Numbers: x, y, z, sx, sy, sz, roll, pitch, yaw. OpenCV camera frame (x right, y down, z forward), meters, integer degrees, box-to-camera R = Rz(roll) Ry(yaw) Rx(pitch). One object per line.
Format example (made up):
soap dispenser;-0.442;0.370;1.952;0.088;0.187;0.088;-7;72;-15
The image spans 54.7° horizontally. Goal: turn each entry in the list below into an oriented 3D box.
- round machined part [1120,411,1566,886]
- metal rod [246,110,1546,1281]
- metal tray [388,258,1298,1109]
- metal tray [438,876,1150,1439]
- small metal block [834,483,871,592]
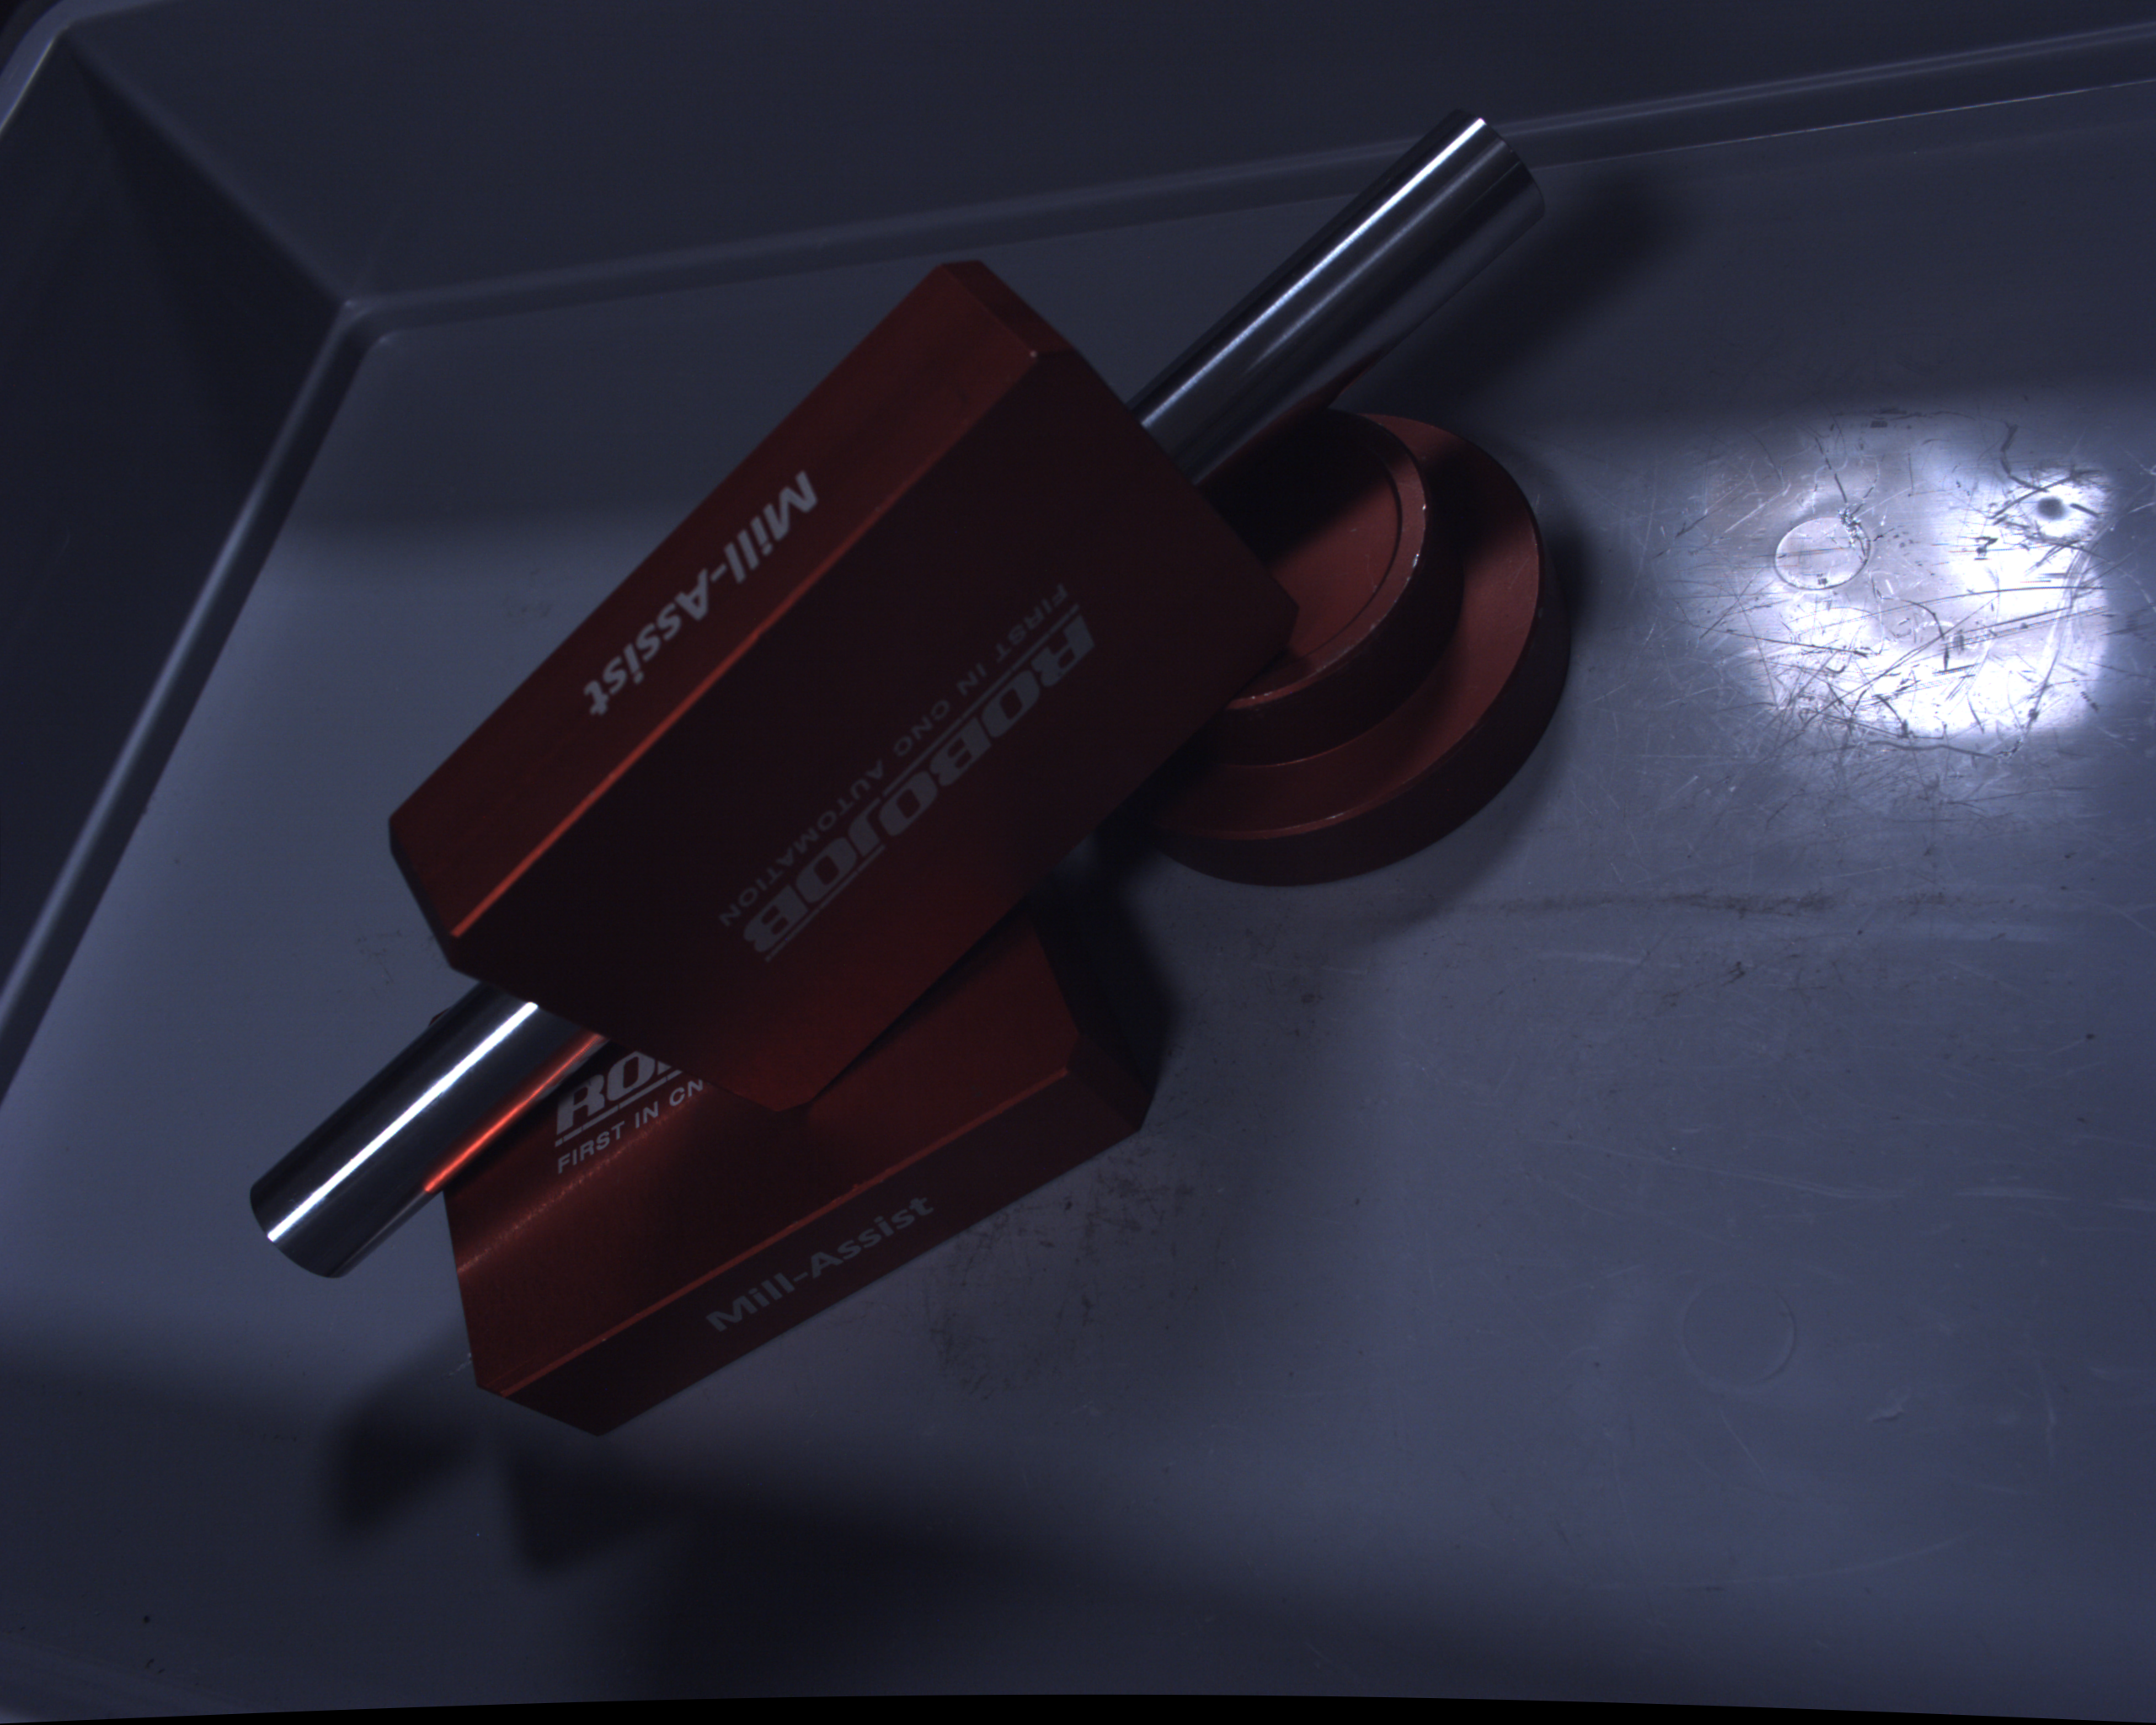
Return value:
round machined part;0.040;-0.048;0.400;0.098;0.042;0.098;-13;56;20
metal rod;-0.037;-0.028;0.388;0.300;0.025;0.025;-41;51;5
metal tray;-0.035;-0.023;0.345;0.130;0.090;0.030;-44;54;6
metal tray;-0.061;0.041;0.406;0.130;0.030;0.090;-30;52;8
small metal block;-0.029;-0.050;0.432;0.025;0.050;0.050;-38;51;2
